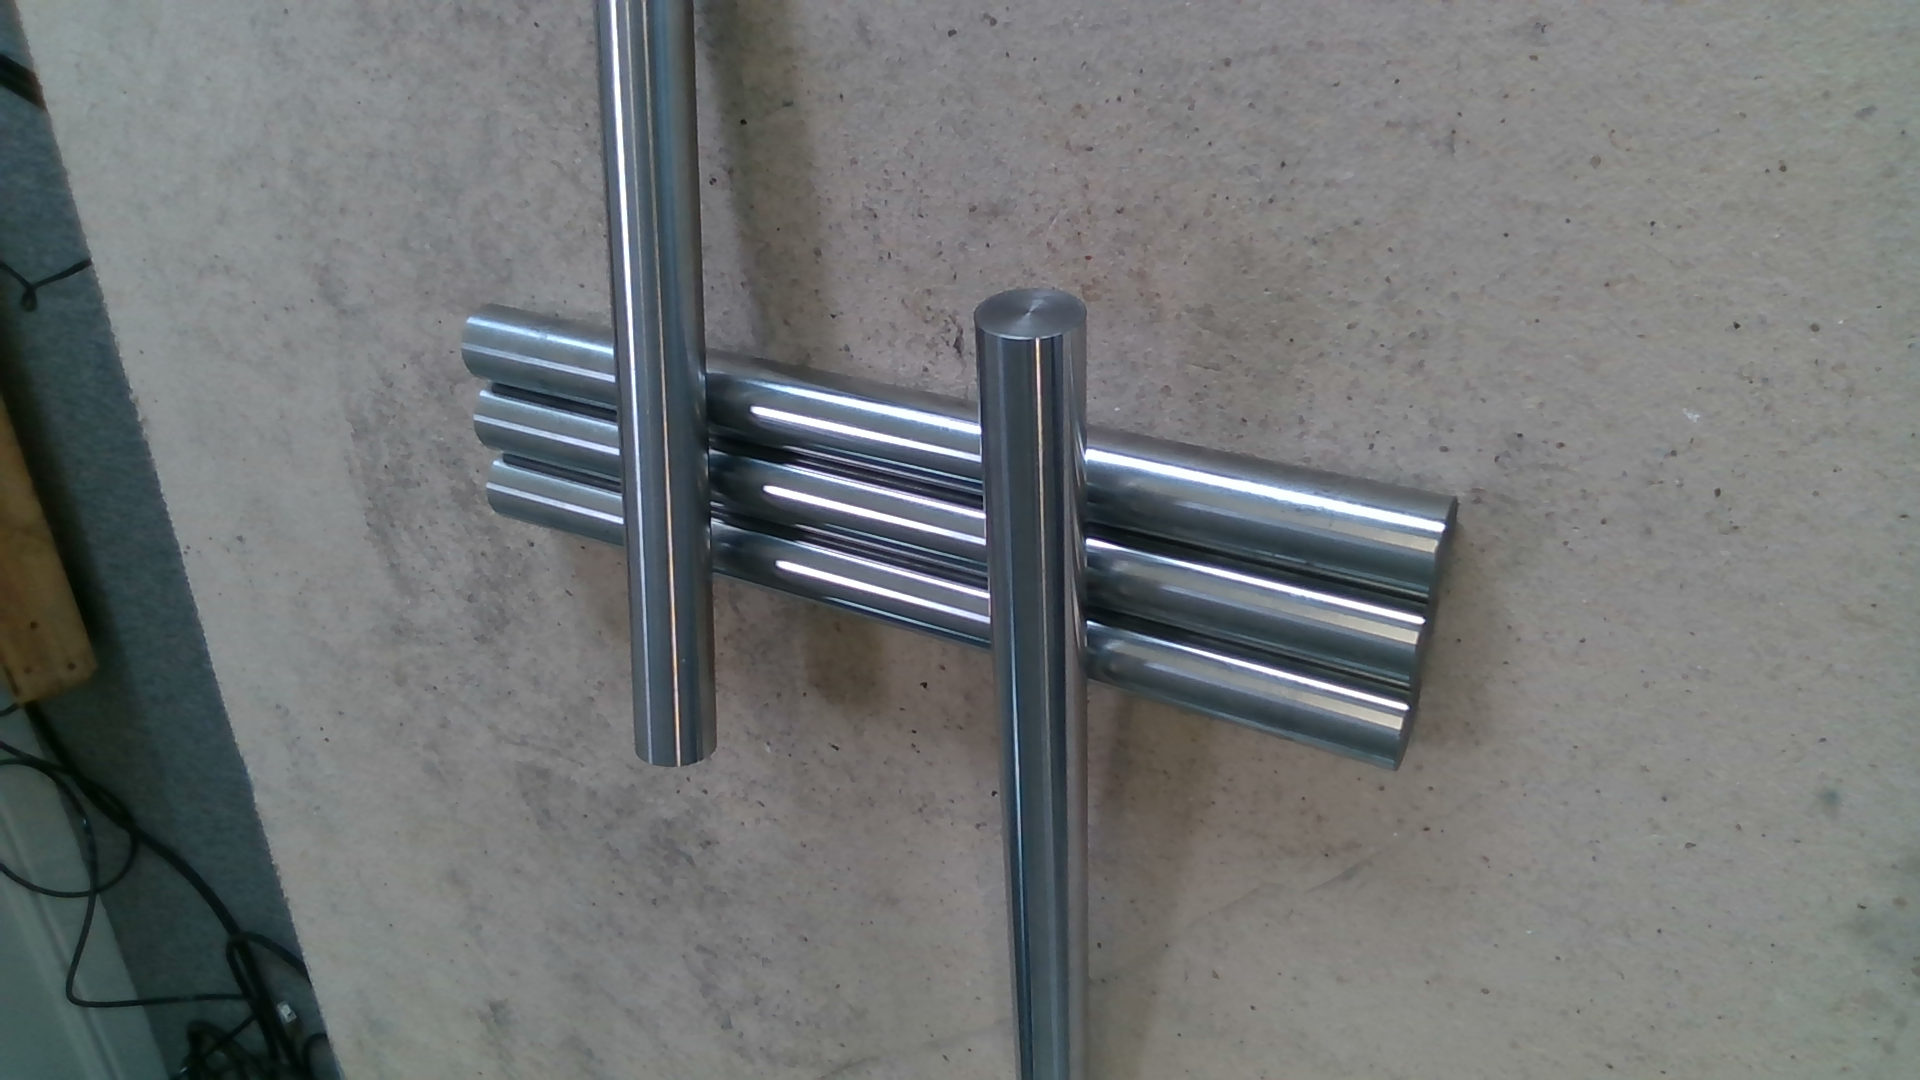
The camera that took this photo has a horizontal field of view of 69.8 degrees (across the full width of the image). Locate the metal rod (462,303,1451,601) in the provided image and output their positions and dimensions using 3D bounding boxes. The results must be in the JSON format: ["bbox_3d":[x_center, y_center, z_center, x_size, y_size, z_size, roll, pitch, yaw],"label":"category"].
[{"bbox_3d":[-0.020,-0.031,0.384,0.300,0.025,0.025,14,122,25],"label":"metal rod"}]

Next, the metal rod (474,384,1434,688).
[{"bbox_3d":[-0.020,-0.009,0.396,0.300,0.025,0.025,14,122,25],"label":"metal rod"}]

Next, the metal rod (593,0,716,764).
[{"bbox_3d":[-0.083,-0.076,0.373,0.025,0.025,0.301,13,114,25],"label":"metal rod"}]

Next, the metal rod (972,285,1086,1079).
[{"bbox_3d":[0.023,0.072,0.389,0.025,0.025,0.301,15,130,24],"label":"metal rod"}]

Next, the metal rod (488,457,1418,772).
[{"bbox_3d":[-0.020,0.013,0.408,0.300,0.025,0.025,14,122,25],"label":"metal rod"}]
